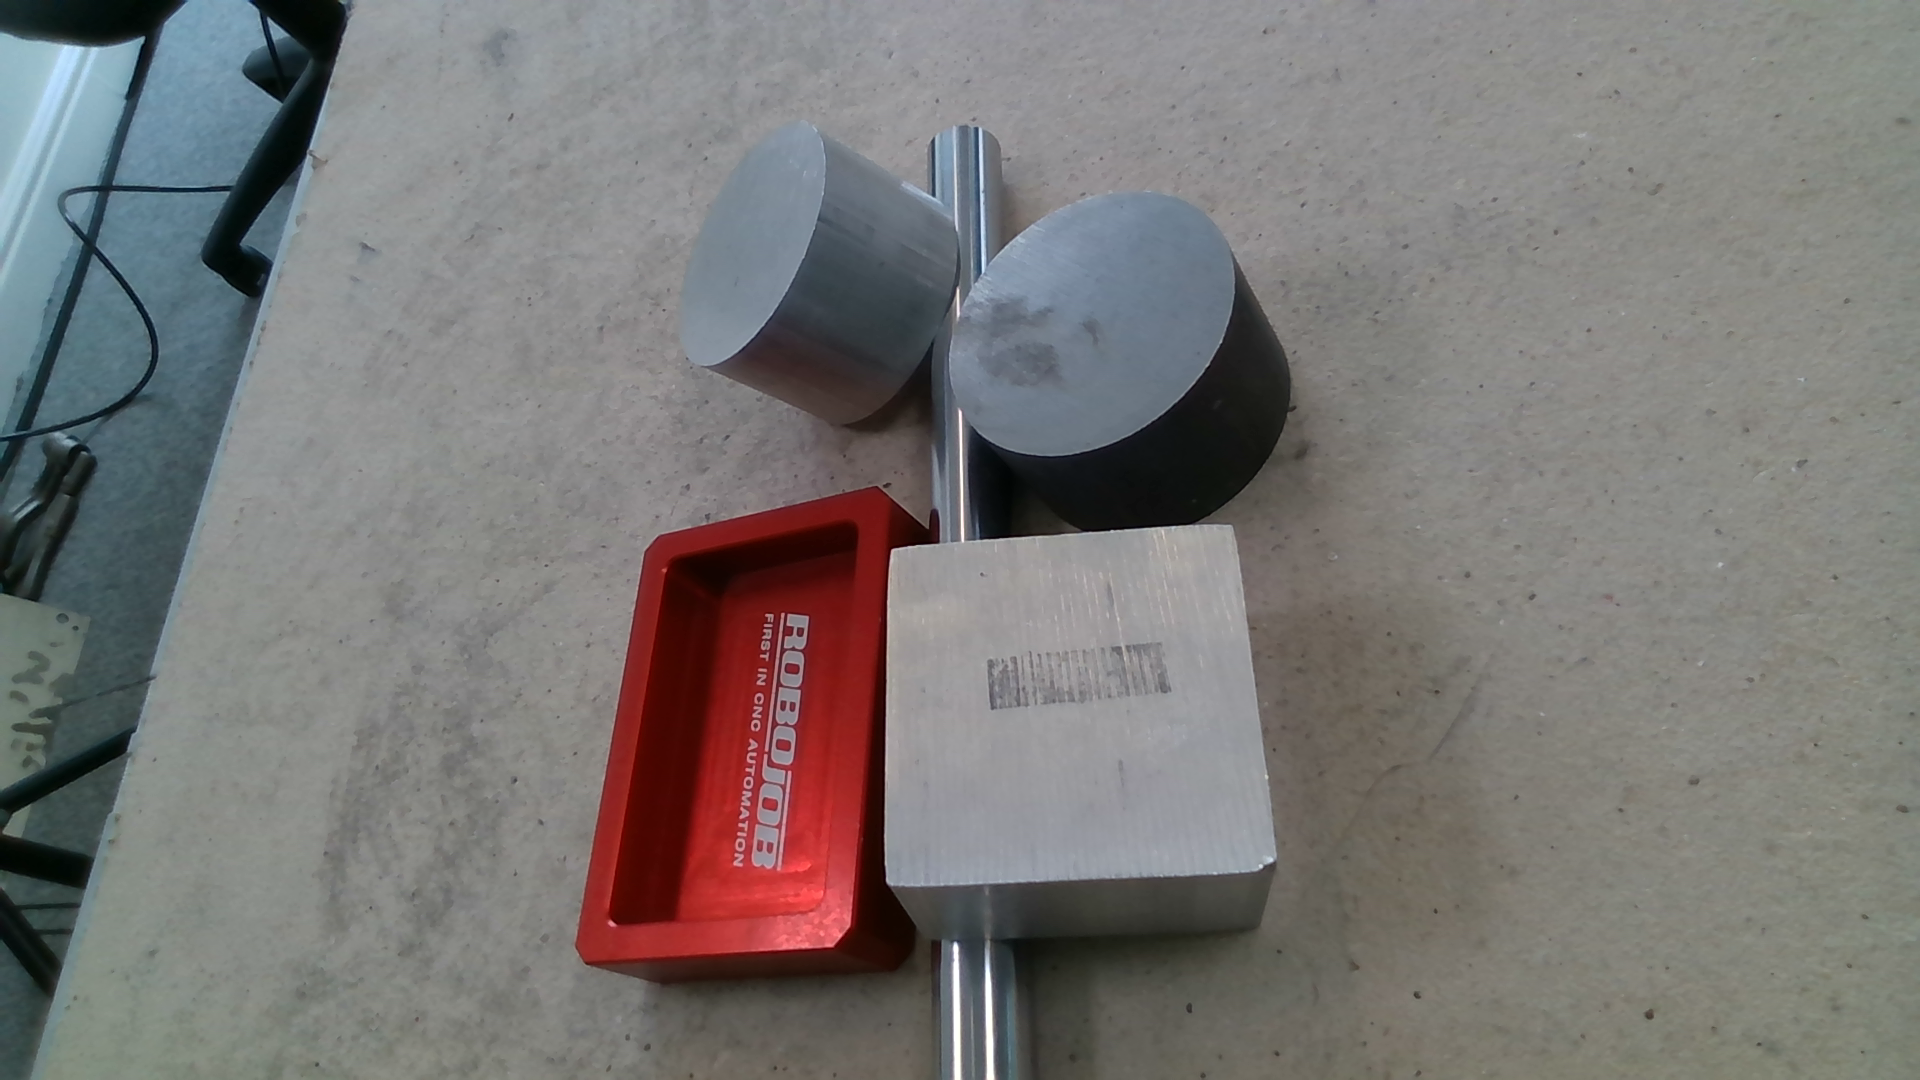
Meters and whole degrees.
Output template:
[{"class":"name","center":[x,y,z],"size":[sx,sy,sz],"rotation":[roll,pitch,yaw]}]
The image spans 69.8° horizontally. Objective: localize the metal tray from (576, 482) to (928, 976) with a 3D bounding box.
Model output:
[{"class":"metal tray","center":[-0.056,0.054,0.395],"size":[0.090,0.030,0.130],"rotation":[-11,60,27]}]

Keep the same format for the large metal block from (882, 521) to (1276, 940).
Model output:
[{"class":"large metal block","center":[0.026,0.046,0.321],"size":[0.080,0.050,0.080],"rotation":[-4,62,6]}]

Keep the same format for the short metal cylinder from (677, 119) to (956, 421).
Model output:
[{"class":"short metal cylinder","center":[-0.046,-0.084,0.434],"size":[0.080,0.050,0.080],"rotation":[-28,52,42]}]

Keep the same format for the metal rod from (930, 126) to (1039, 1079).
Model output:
[{"class":"metal rod","center":[0.004,0.002,0.391],"size":[0.025,0.025,0.299],"rotation":[-15,59,24]}]

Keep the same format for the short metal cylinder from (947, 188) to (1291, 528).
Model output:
[{"class":"short metal cylinder","center":[0.044,-0.047,0.375],"size":[0.080,0.050,0.080],"rotation":[-14,59,24]}]
